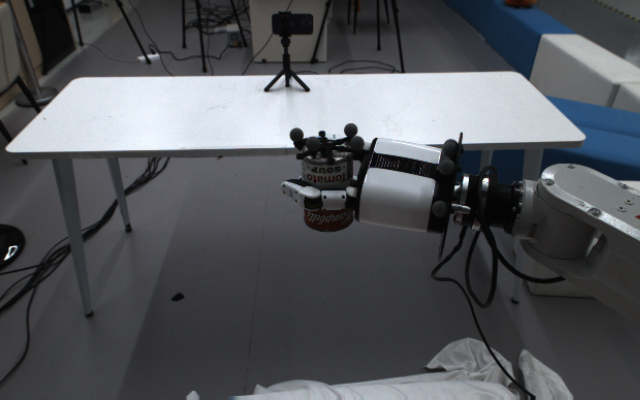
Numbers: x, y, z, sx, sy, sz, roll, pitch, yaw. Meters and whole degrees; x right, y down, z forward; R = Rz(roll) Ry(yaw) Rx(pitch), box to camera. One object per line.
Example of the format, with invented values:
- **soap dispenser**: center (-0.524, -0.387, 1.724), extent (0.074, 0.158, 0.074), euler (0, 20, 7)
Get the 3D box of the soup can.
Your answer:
- **soup can**: center (0.011, -0.019, 0.625), extent (0.067, 0.101, 0.067), euler (-2, 32, 1)
